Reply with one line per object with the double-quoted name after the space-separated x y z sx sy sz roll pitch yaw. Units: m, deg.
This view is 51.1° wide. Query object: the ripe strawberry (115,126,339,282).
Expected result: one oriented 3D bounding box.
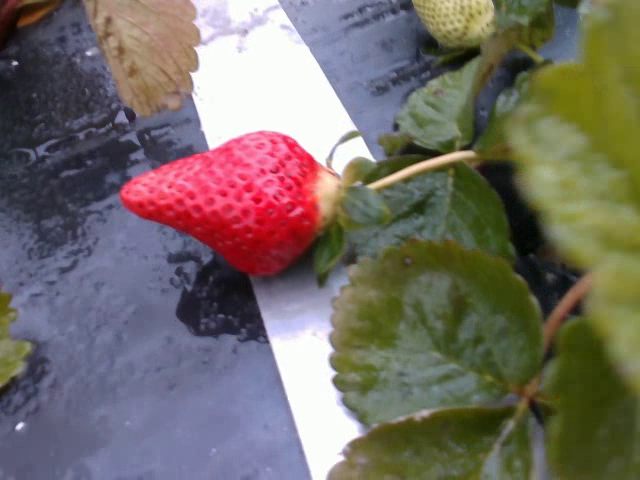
-0.023 -0.011 0.162 0.051 0.042 0.038 0 -13 -10 "ripe strawberry"
